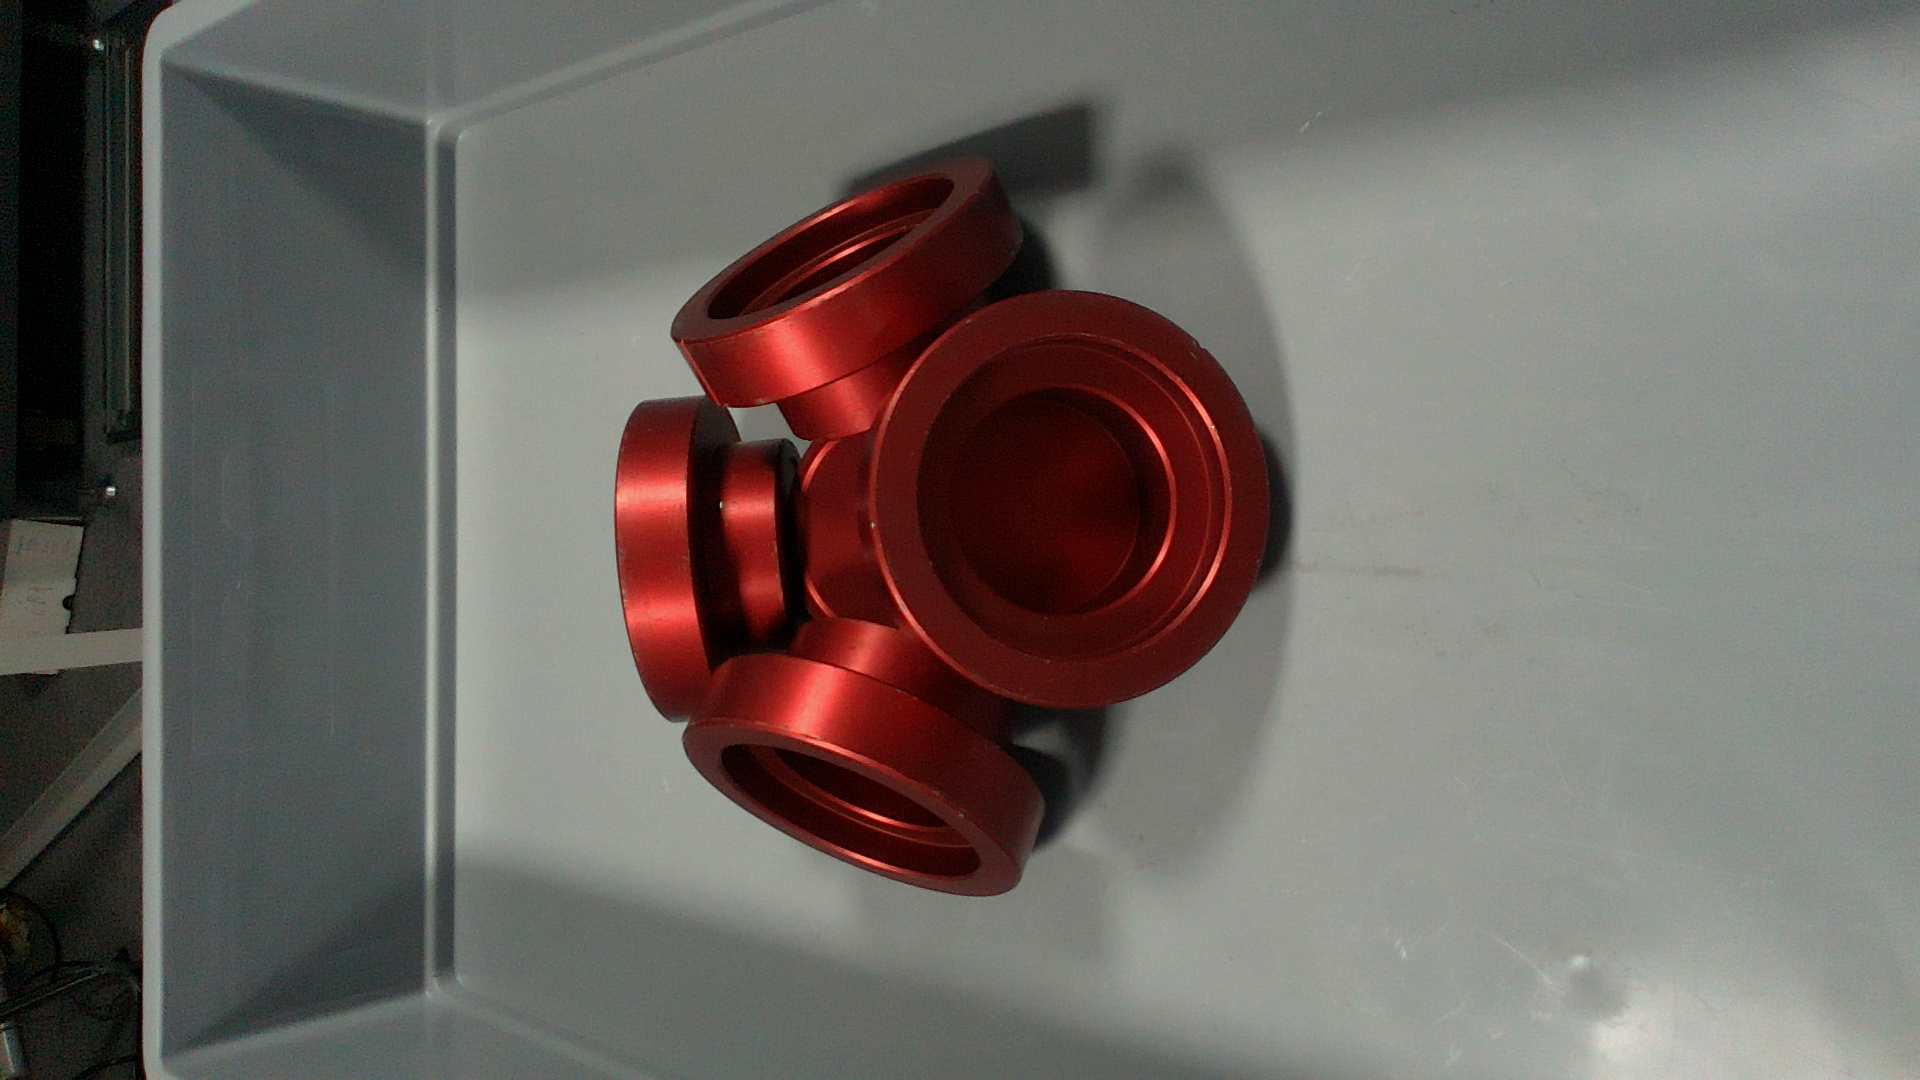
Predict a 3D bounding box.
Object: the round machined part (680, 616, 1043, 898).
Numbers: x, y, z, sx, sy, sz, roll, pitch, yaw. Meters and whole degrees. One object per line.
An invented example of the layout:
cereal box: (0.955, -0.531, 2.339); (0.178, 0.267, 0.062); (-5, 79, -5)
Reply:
round machined part: (-0.023, 0.057, 0.377); (0.098, 0.098, 0.042); (-2, 53, 40)

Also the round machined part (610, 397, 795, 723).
round machined part: (-0.070, 0.005, 0.417); (0.042, 0.098, 0.098); (-5, 86, 3)

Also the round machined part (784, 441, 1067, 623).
round machined part: (-0.012, -0.003, 0.392); (0.098, 0.042, 0.098); (0, 90, 40)

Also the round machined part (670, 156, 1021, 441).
round machined part: (-0.027, -0.064, 0.380); (0.098, 0.098, 0.042); (-5, 124, 40)

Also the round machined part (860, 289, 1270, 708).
round machined part: (0.023, -0.009, 0.340); (0.042, 0.098, 0.098); (171, 97, -76)
